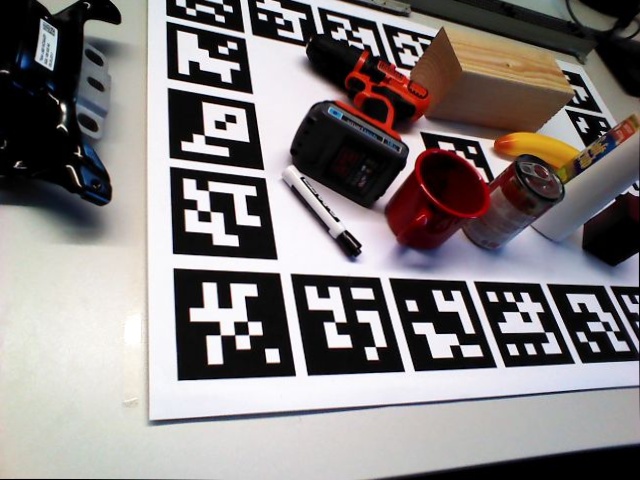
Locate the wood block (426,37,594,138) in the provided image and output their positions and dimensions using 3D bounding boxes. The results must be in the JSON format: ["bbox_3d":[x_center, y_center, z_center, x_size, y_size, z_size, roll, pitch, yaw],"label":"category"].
[{"bbox_3d":[0.270,-0.211,0.745,0.206,0.091,0.089,2,59,-24],"label":"wood block"}]

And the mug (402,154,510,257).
[{"bbox_3d":[0.137,-0.025,0.561,0.093,0.082,0.116,40,54,1],"label":"mug"}]

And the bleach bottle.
[{"bbox_3d":[0.375,-0.086,0.606,0.068,0.252,0.102,28,50,-6],"label":"bleach bottle"}]

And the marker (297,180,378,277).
[{"bbox_3d":[0.019,-0.012,0.540,0.019,0.020,0.121,-29,75,-34],"label":"marker"}]

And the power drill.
[{"bbox_3d":[0.063,-0.143,0.627,0.184,0.058,0.185,30,50,-9],"label":"power drill"}]

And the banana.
[{"bbox_3d":[0.351,-0.119,0.751,0.197,0.039,0.074,18,67,-16],"label":"banana"}]

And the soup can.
[{"bbox_3d":[0.241,-0.031,0.595,0.068,0.103,0.067,14,50,-18],"label":"soup can"}]

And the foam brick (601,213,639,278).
[{"bbox_3d":[0.422,0.003,0.684,0.053,0.078,0.051,30,49,-2],"label":"foam brick"}]
